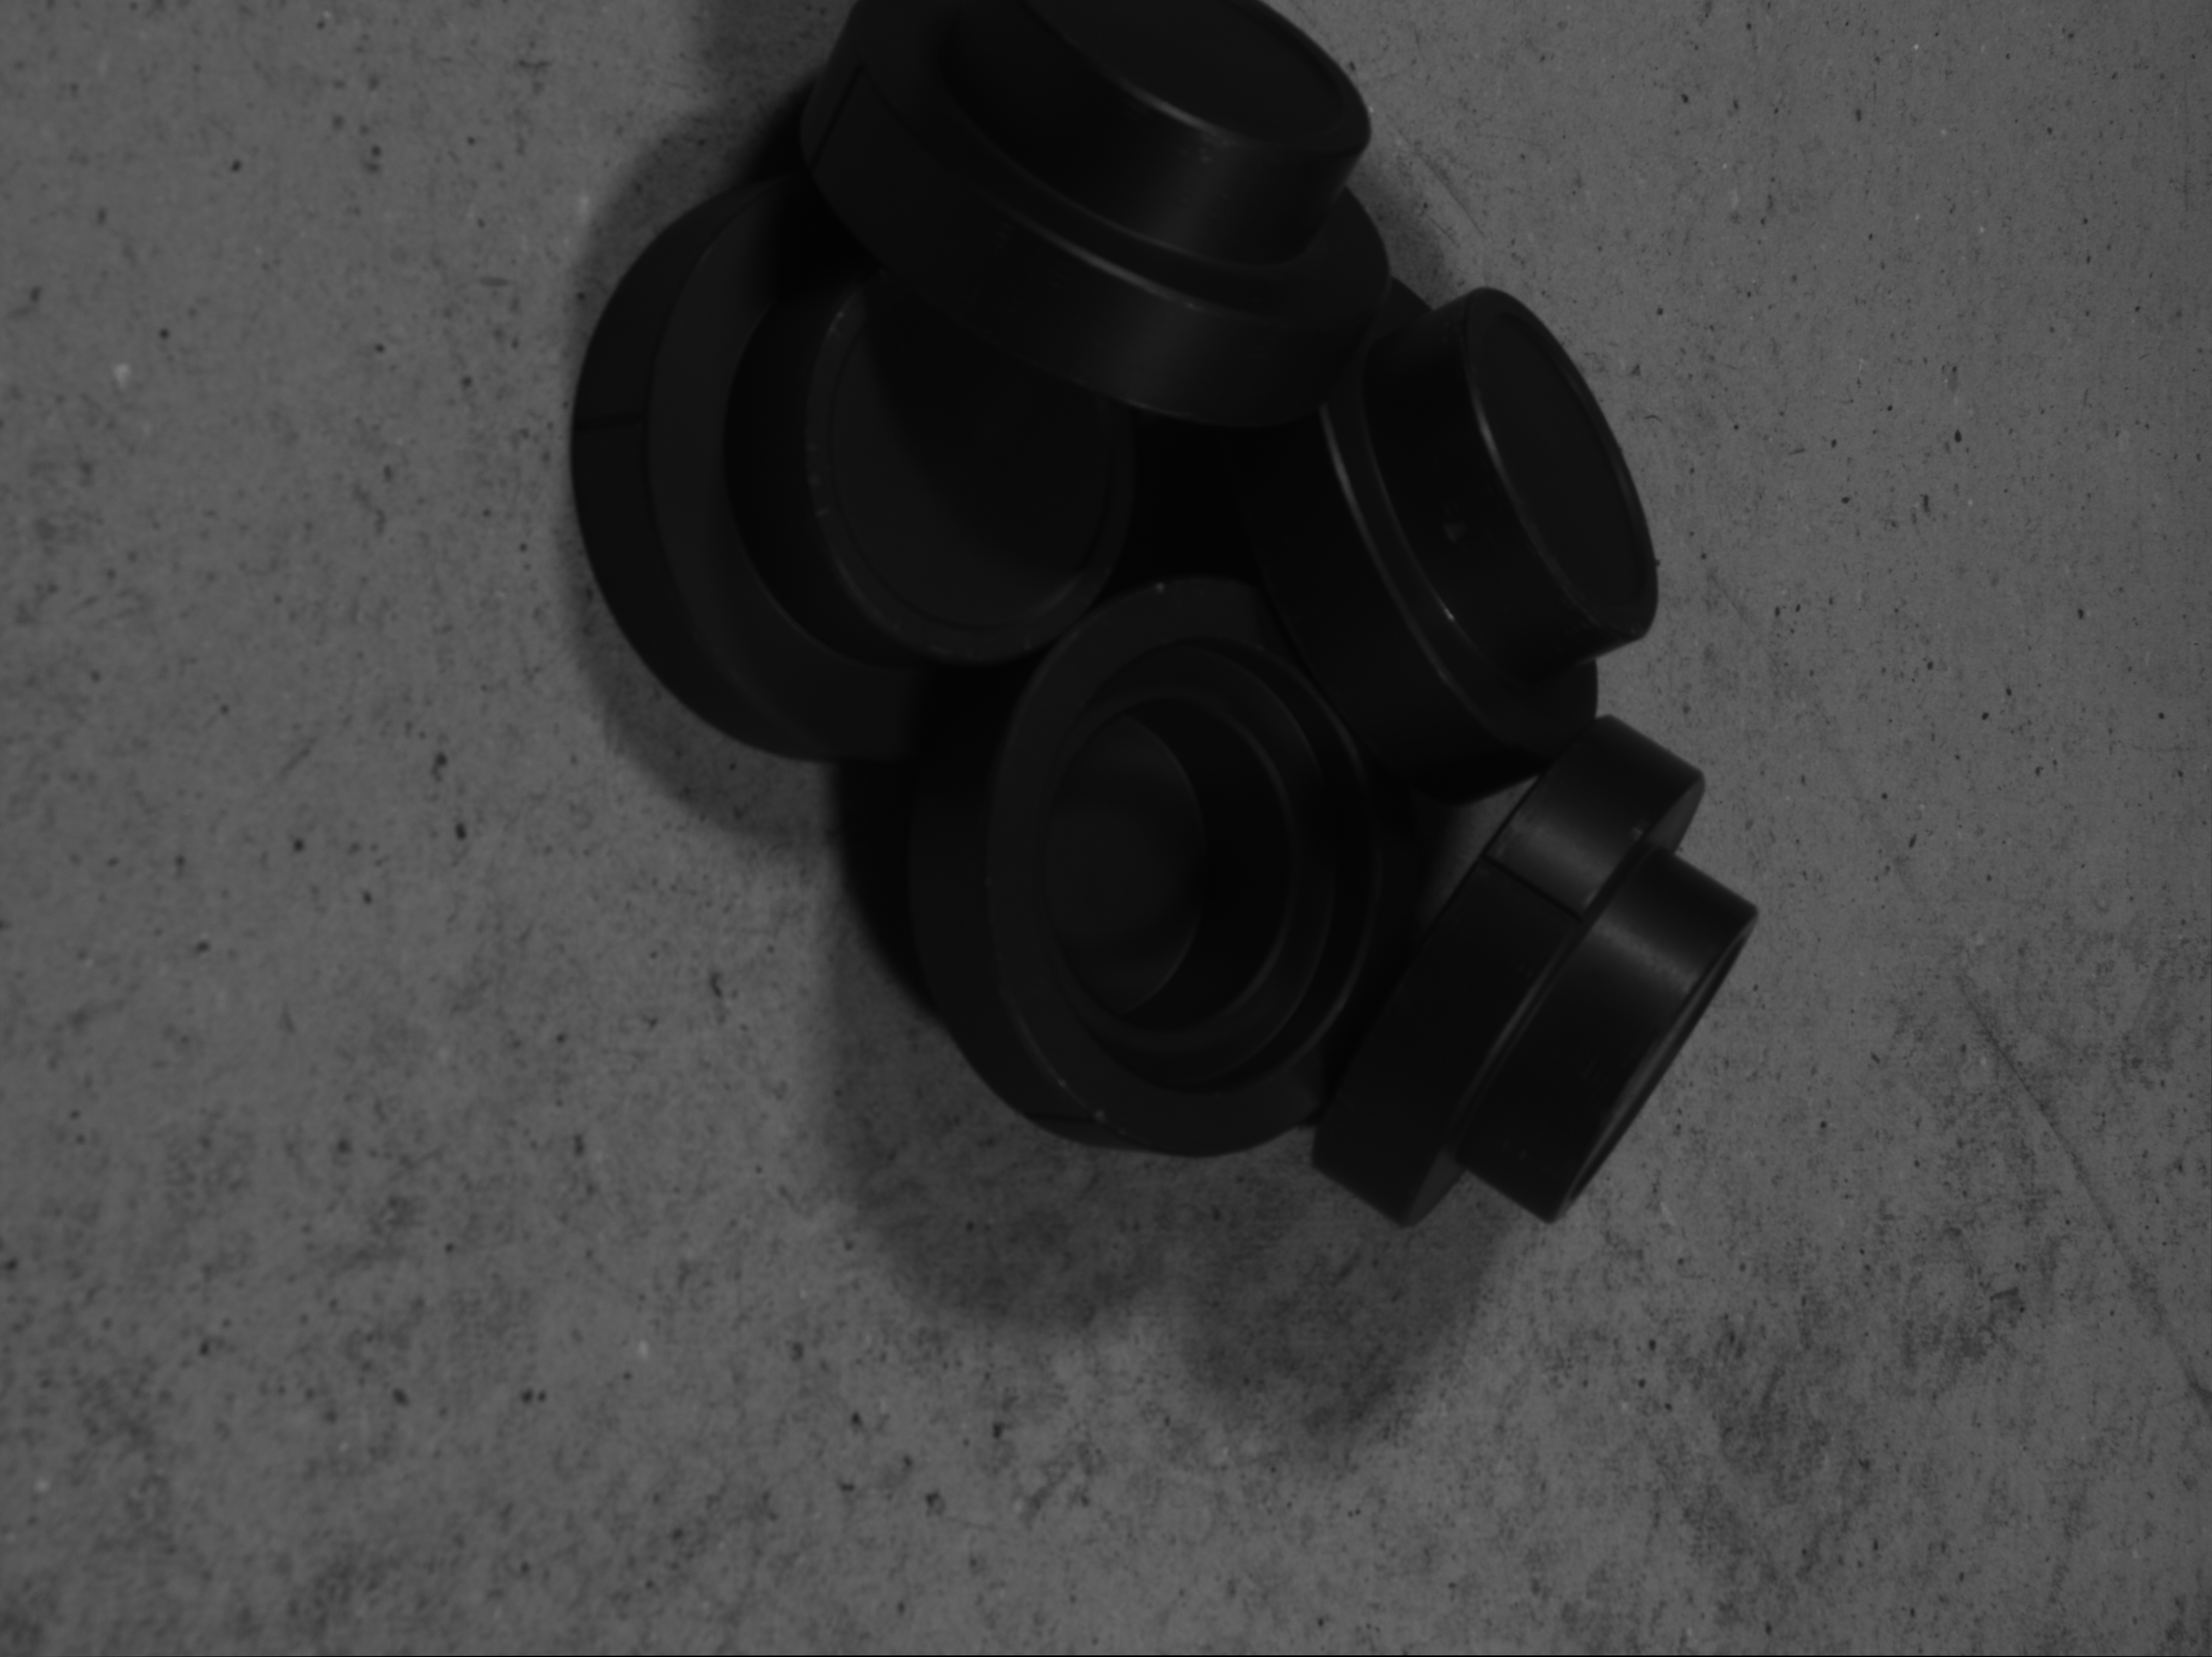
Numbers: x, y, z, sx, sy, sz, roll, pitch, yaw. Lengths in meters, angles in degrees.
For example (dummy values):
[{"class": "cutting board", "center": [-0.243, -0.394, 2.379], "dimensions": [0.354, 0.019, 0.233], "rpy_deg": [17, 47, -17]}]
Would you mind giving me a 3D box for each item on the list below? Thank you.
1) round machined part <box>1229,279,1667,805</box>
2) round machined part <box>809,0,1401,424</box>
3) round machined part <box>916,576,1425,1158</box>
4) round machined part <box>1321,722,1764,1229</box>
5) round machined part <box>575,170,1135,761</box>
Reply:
[{"class": "round machined part", "center": [0.065, -0.057, 0.653], "dimensions": [0.098, 0.042, 0.098], "rpy_deg": [43, 33, -38]}, {"class": "round machined part", "center": [0.005, -0.111, 0.593], "dimensions": [0.098, 0.098, 0.042], "rpy_deg": [1, 131, -40]}, {"class": "round machined part", "center": [0.006, 0.006, 0.631], "dimensions": [0.098, 0.042, 0.098], "rpy_deg": [0, 90, -40]}, {"class": "round machined part", "center": [0.083, 0.032, 0.660], "dimensions": [0.042, 0.098, 0.098], "rpy_deg": [34, 62, 10]}, {"class": "round machined part", "center": [-0.034, -0.060, 0.600], "dimensions": [0.098, 0.042, 0.098], "rpy_deg": [0, 90, -40]}]
